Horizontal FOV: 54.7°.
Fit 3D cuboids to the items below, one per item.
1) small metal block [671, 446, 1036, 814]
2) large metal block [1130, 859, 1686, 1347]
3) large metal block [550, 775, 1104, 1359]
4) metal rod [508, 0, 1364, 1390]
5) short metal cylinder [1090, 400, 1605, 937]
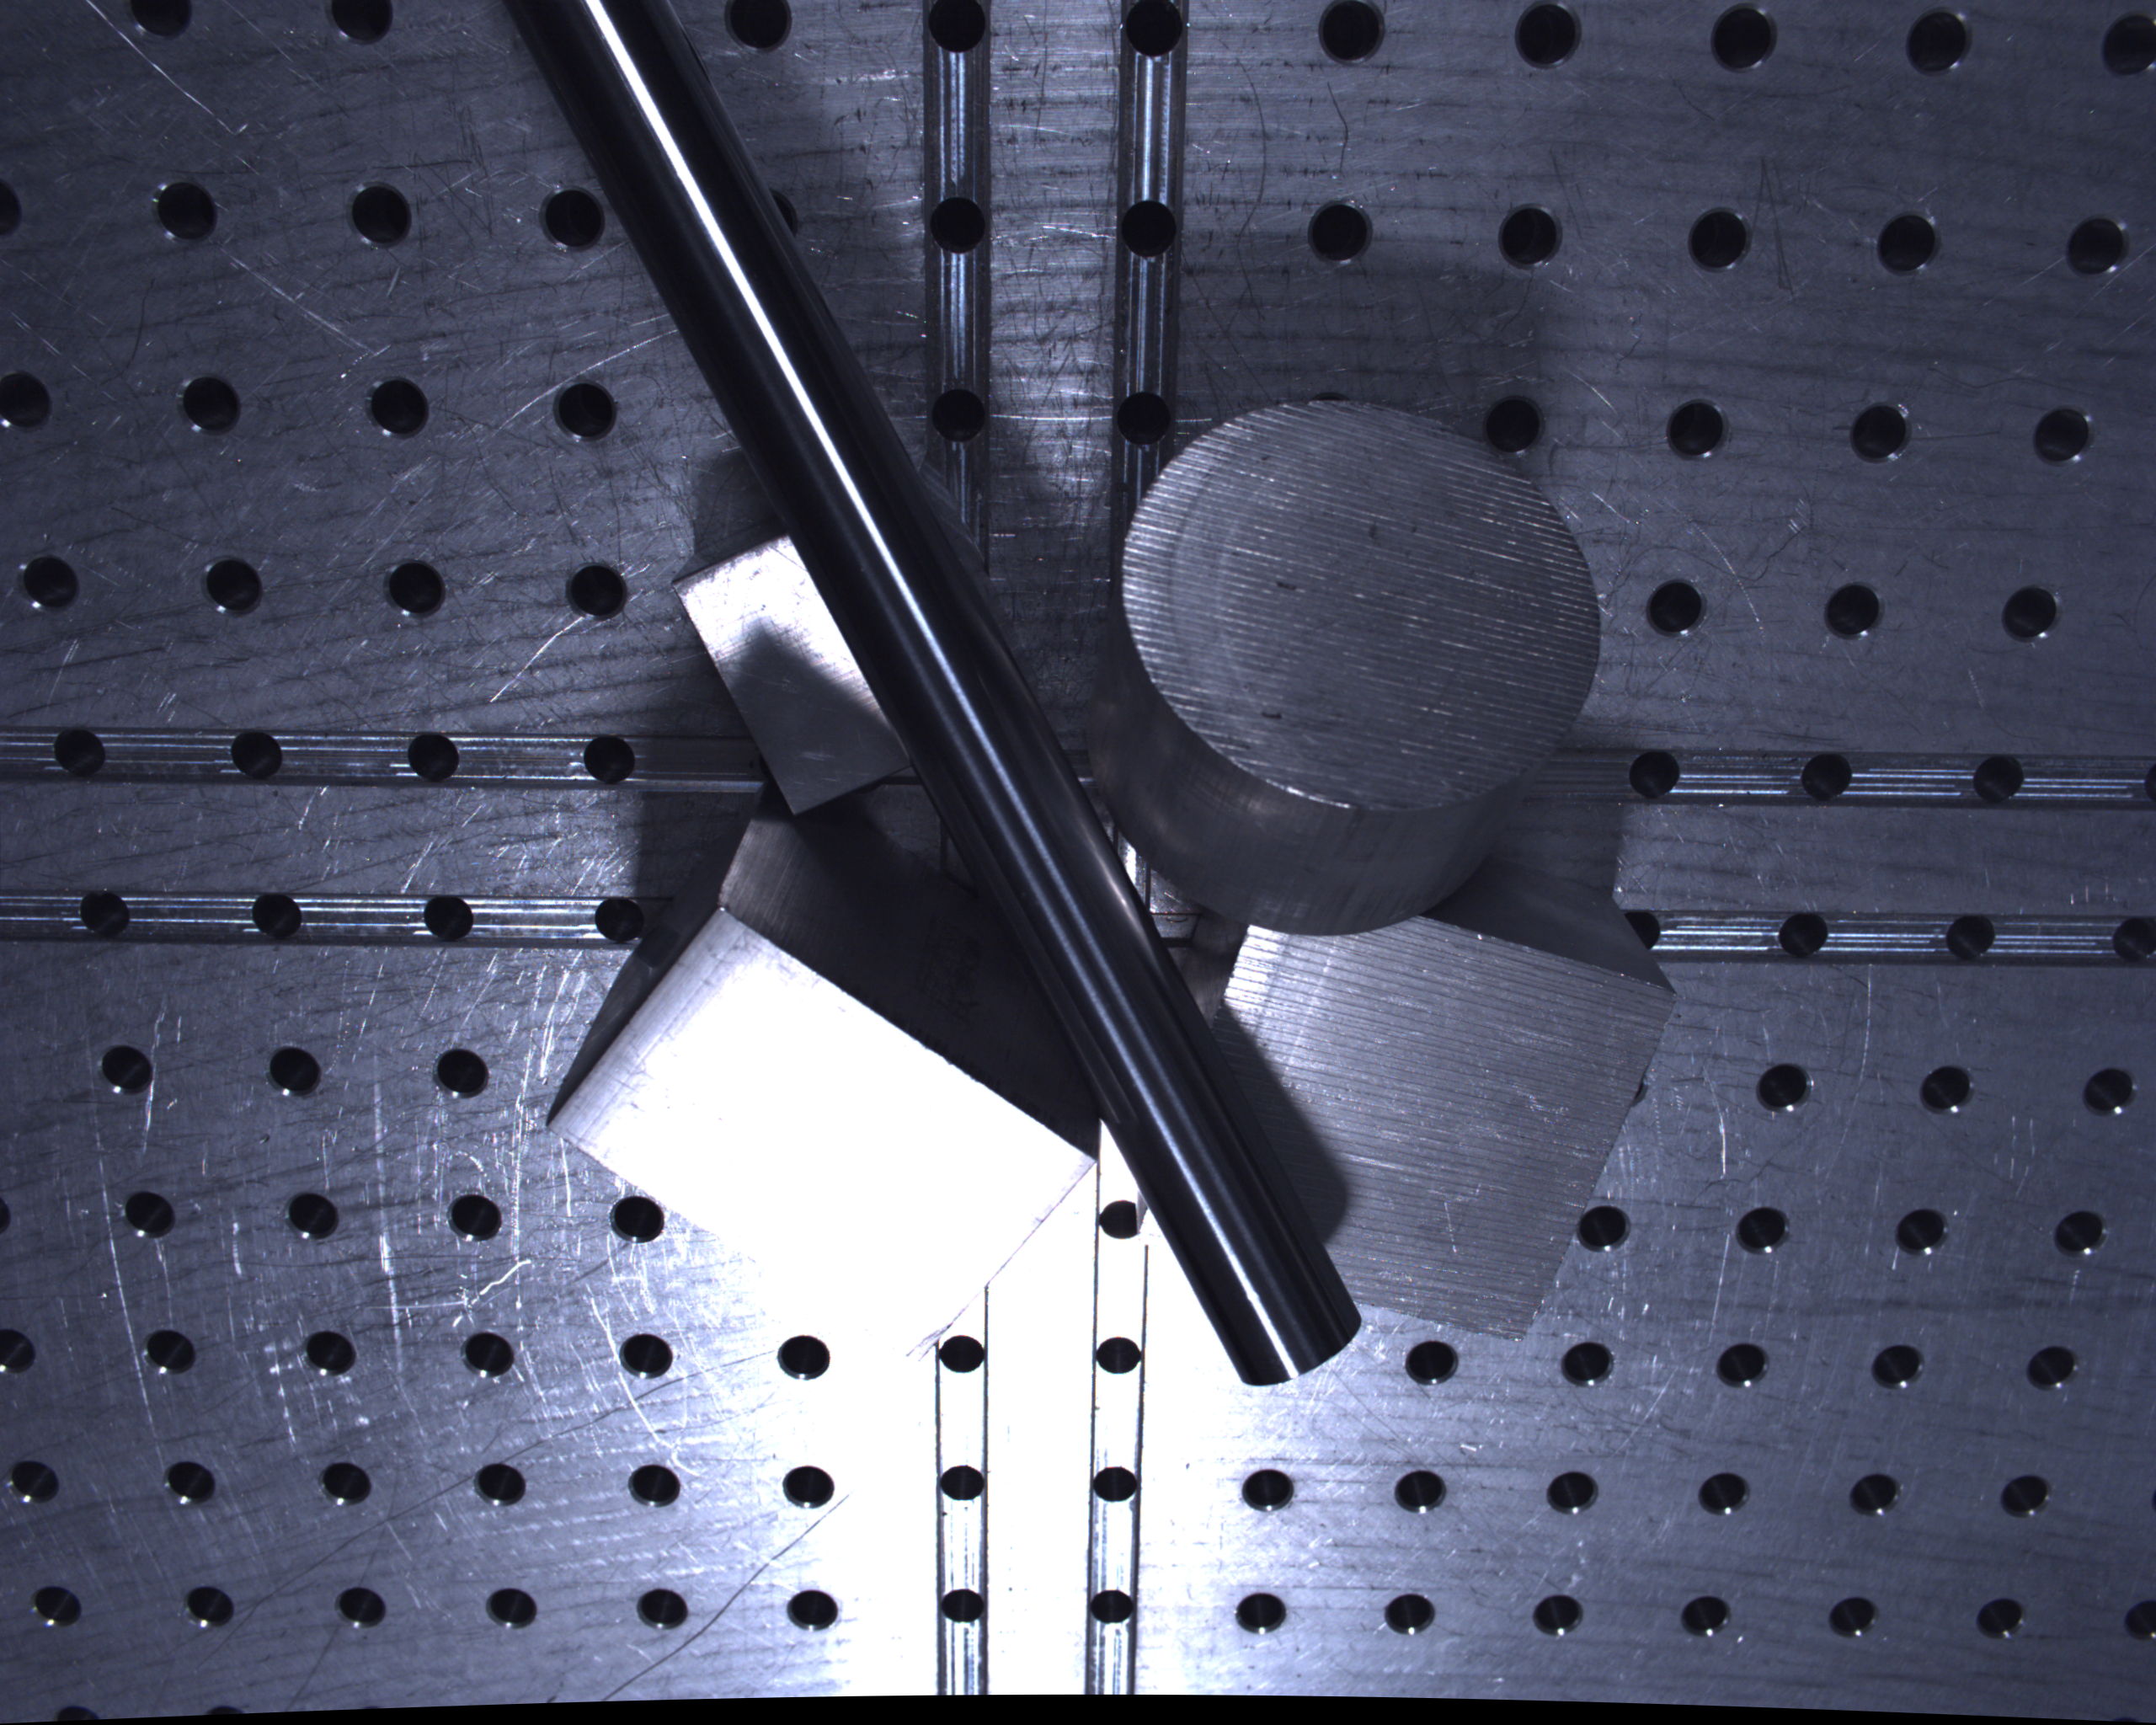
[{"bbox_3d":[-0.041,-0.044,0.397,0.050,0.025,0.050,-23,109,8],"label":"small metal block"},{"bbox_3d":[0.061,0.040,0.415,0.080,0.050,0.079,16,109,-7],"label":"large metal block"},{"bbox_3d":[-0.043,0.034,0.396,0.080,0.080,0.050,35,106,-13],"label":"large metal block"},{"bbox_3d":[-0.028,-0.042,0.365,0.025,0.025,0.299,-27,97,9],"label":"metal rod"},{"bbox_3d":[0.045,-0.033,0.365,0.081,0.080,0.050,8,153,-4],"label":"short metal cylinder"}]
